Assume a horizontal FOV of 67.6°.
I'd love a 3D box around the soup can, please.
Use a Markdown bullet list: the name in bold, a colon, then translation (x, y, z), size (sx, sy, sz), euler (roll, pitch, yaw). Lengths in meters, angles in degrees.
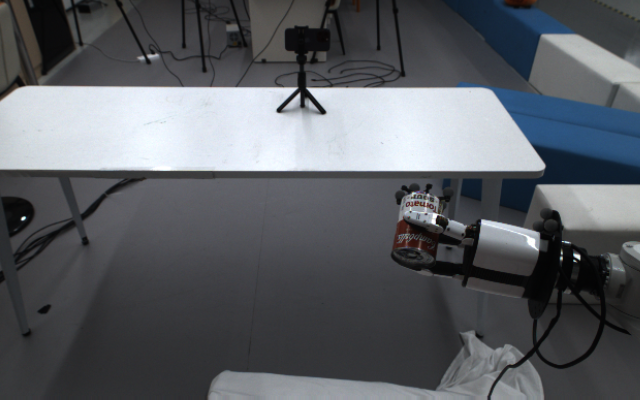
- **soup can**: translation (0.153, 0.044, 0.748), size (0.067, 0.067, 0.101), euler (9, 60, 10)
